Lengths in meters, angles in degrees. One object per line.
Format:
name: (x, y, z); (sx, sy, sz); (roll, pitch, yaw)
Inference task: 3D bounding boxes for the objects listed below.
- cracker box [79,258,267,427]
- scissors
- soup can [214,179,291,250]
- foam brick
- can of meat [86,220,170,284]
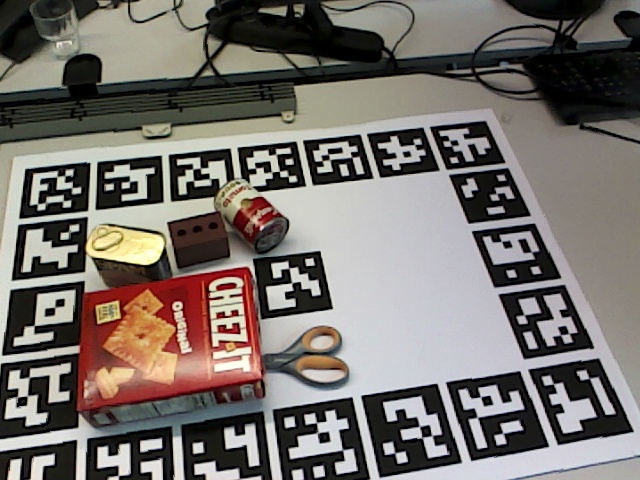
cracker box: (-0.190, 0.126, 0.795); (0.213, 0.072, 0.165); (-13, 56, -6)
scissors: (-0.072, 0.158, 0.815); (0.202, 0.016, 0.088); (-11, 57, -9)
soup can: (-0.103, -0.040, 0.941); (0.102, 0.067, 0.068); (35, 62, 26)
foam brick: (-0.179, -0.007, 0.917); (0.078, 0.051, 0.053); (-16, 59, -13)
can of meat: (-0.266, 0.021, 0.872); (0.102, 0.083, 0.058); (5, 56, 1)
